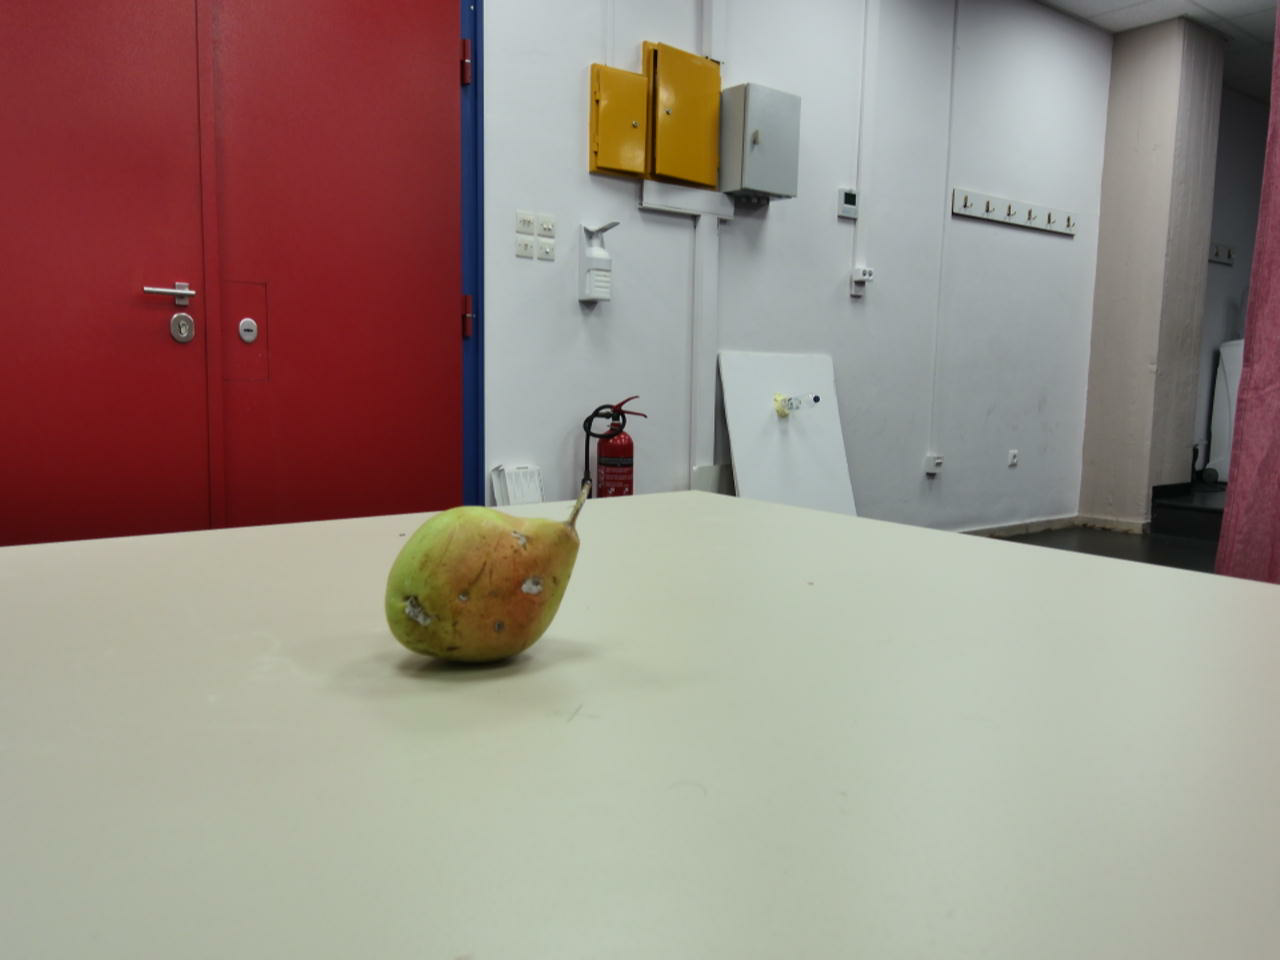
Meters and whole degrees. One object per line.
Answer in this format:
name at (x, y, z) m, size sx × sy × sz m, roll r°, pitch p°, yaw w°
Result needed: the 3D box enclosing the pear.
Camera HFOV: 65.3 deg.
pear at (-0.062, 0.038, 0.401) m, size 0.070 × 0.069 × 0.068 m, roll 1°, pitch 4°, yaw 13°
